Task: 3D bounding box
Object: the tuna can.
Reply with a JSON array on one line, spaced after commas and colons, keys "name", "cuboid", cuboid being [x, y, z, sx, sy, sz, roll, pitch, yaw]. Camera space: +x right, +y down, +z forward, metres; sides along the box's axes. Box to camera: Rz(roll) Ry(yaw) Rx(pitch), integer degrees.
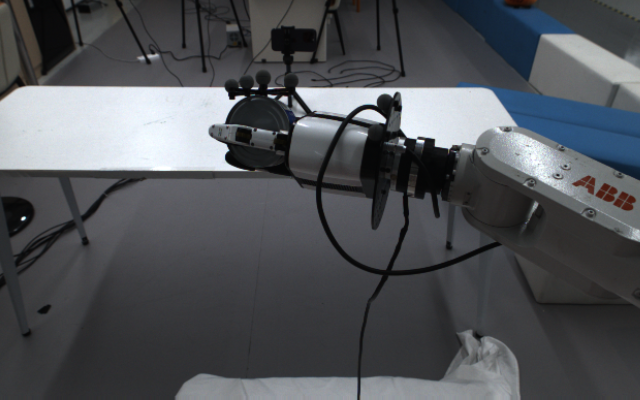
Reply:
[{"name": "tuna can", "cuboid": [-0.069, -0.083, 0.589, 0.085, 0.085, 0.034, 15, 10, 18]}]
